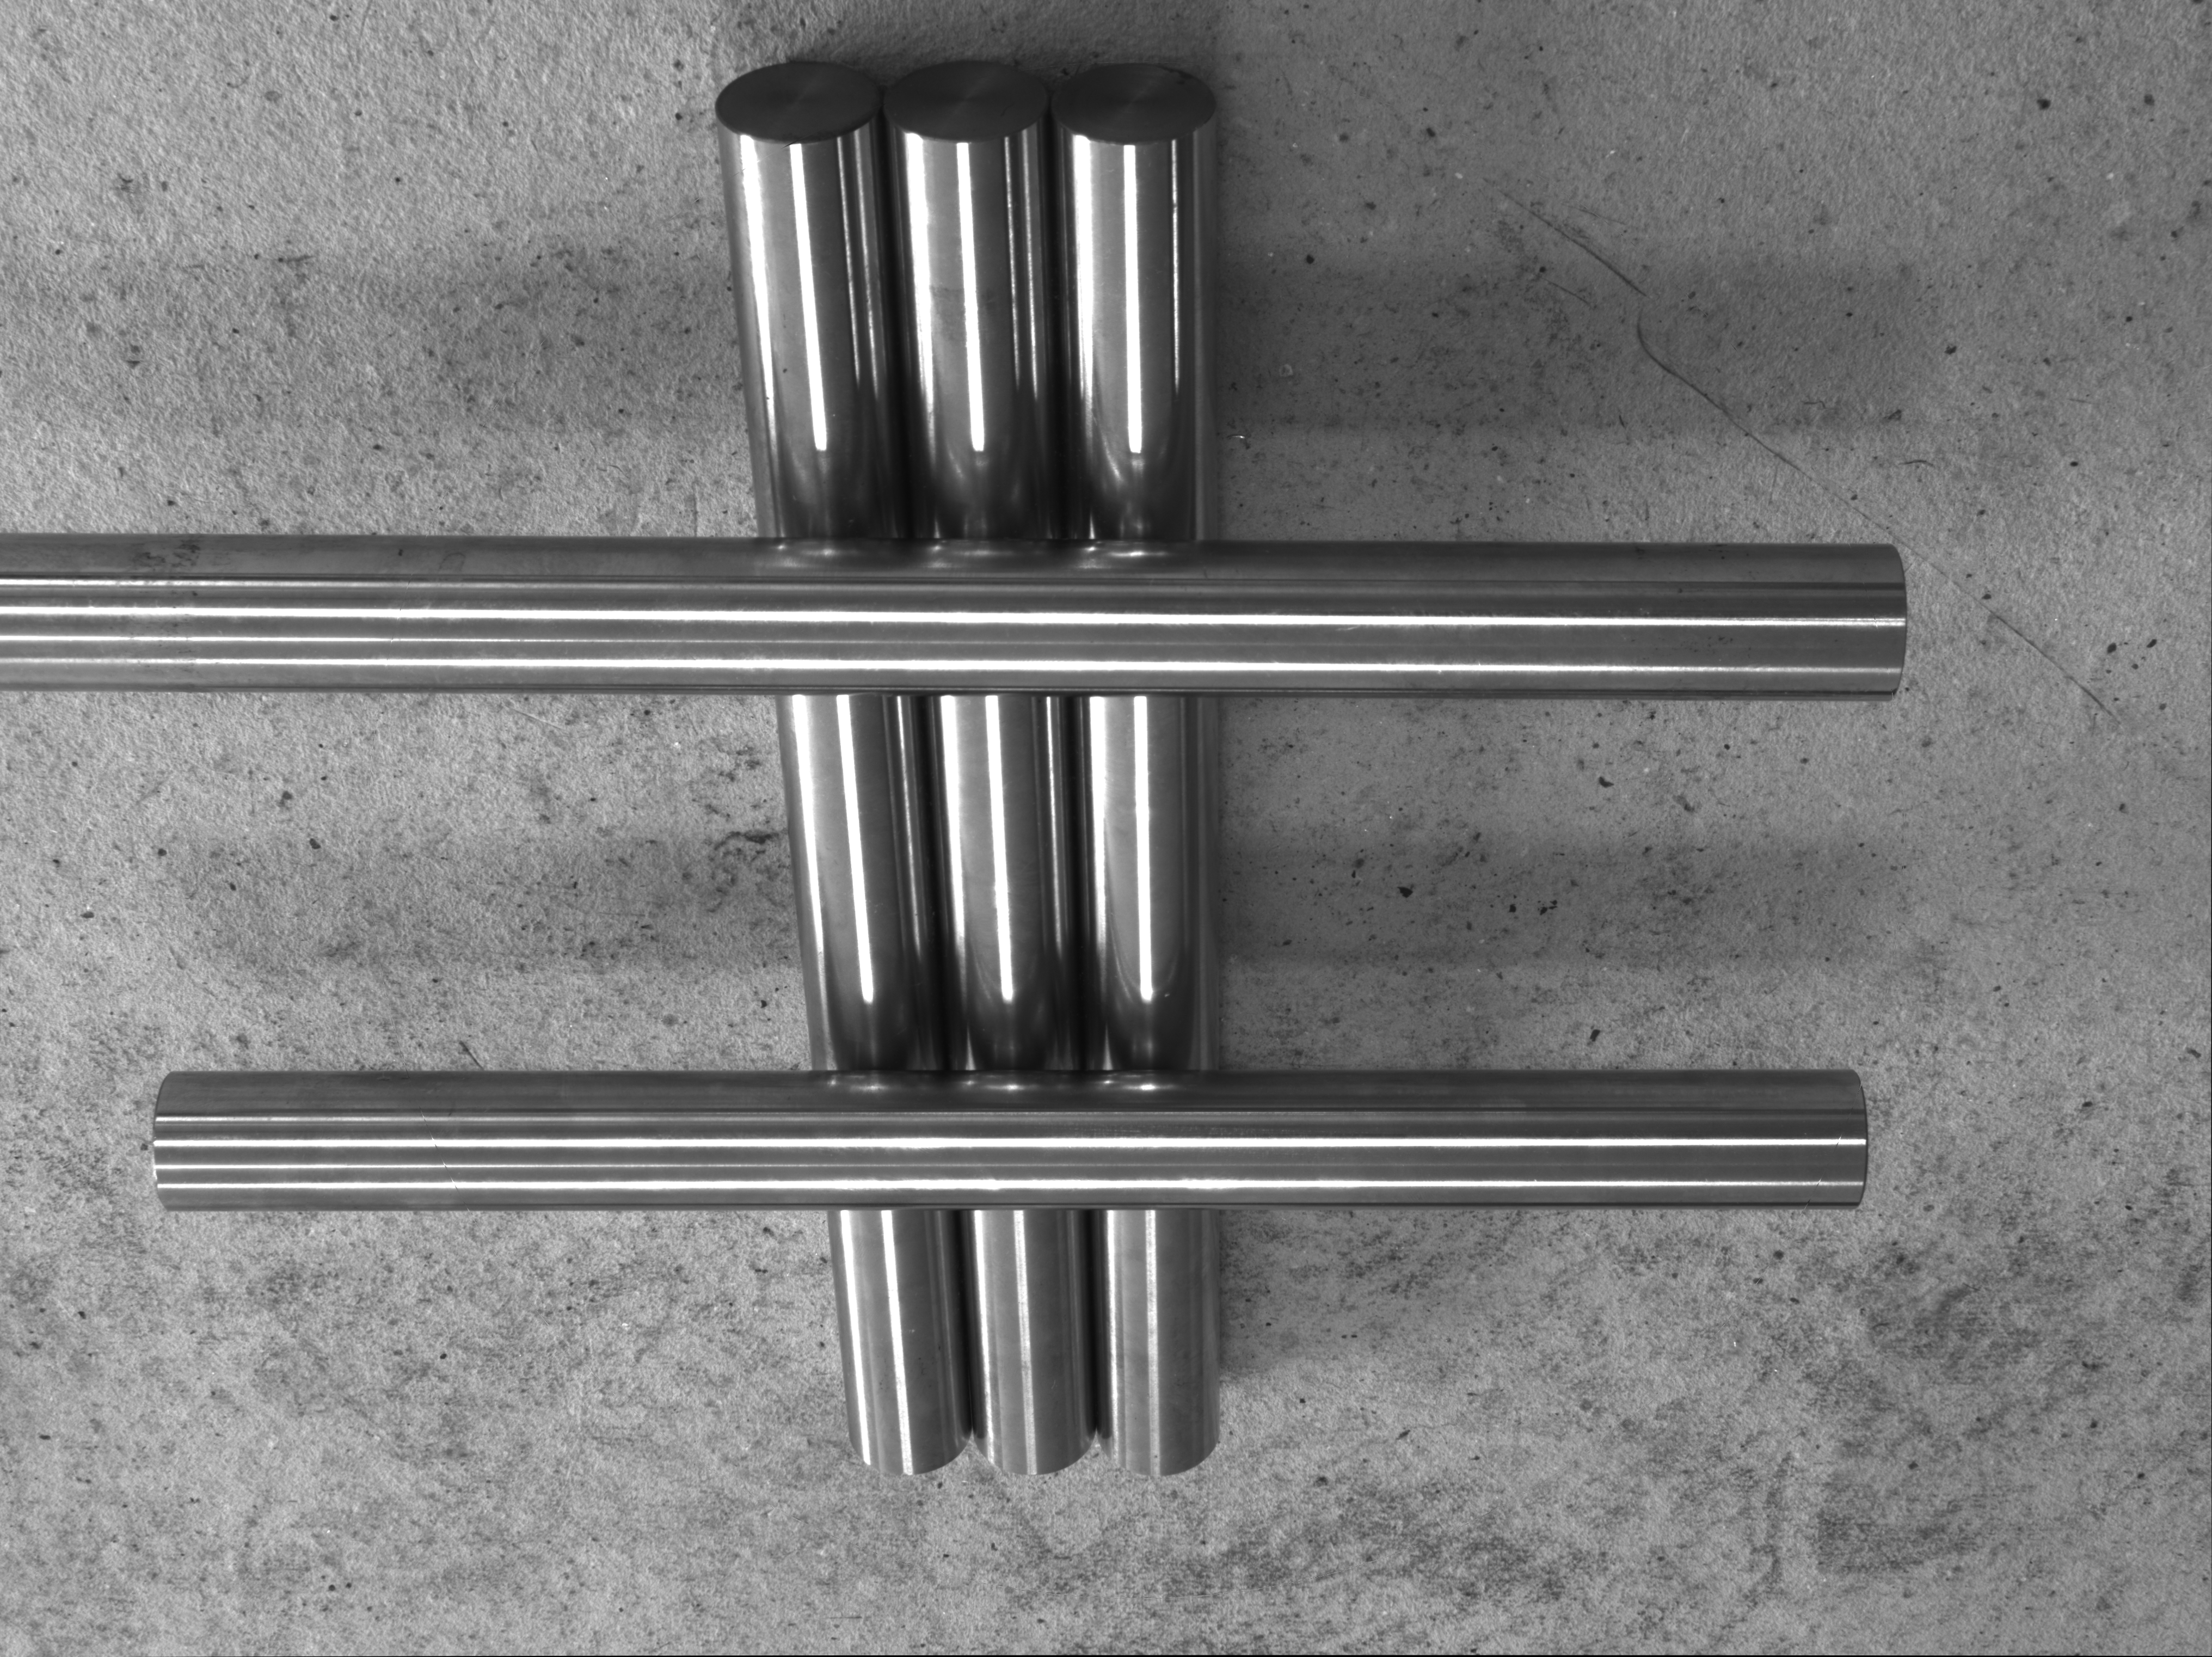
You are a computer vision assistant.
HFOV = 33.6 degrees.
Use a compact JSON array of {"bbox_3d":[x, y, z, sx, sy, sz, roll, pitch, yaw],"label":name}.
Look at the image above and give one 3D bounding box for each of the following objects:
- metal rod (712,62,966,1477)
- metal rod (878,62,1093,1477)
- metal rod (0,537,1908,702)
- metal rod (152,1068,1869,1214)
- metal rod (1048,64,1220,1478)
[{"bbox_3d":[-0.043,0.006,0.644,0.025,0.025,0.300,-1,130,1],"label":"metal rod"},{"bbox_3d":[-0.018,0.006,0.644,0.025,0.025,0.300,-1,130,1],"label":"metal rod"},{"bbox_3d":[-0.026,-0.033,0.579,0.300,0.025,0.025,0,130,0],"label":"metal rod"},{"bbox_3d":[-0.016,0.056,0.653,0.300,0.025,0.025,0,130,0],"label":"metal rod"},{"bbox_3d":[0.007,0.007,0.645,0.025,0.025,0.300,-1,130,1],"label":"metal rod"}]
